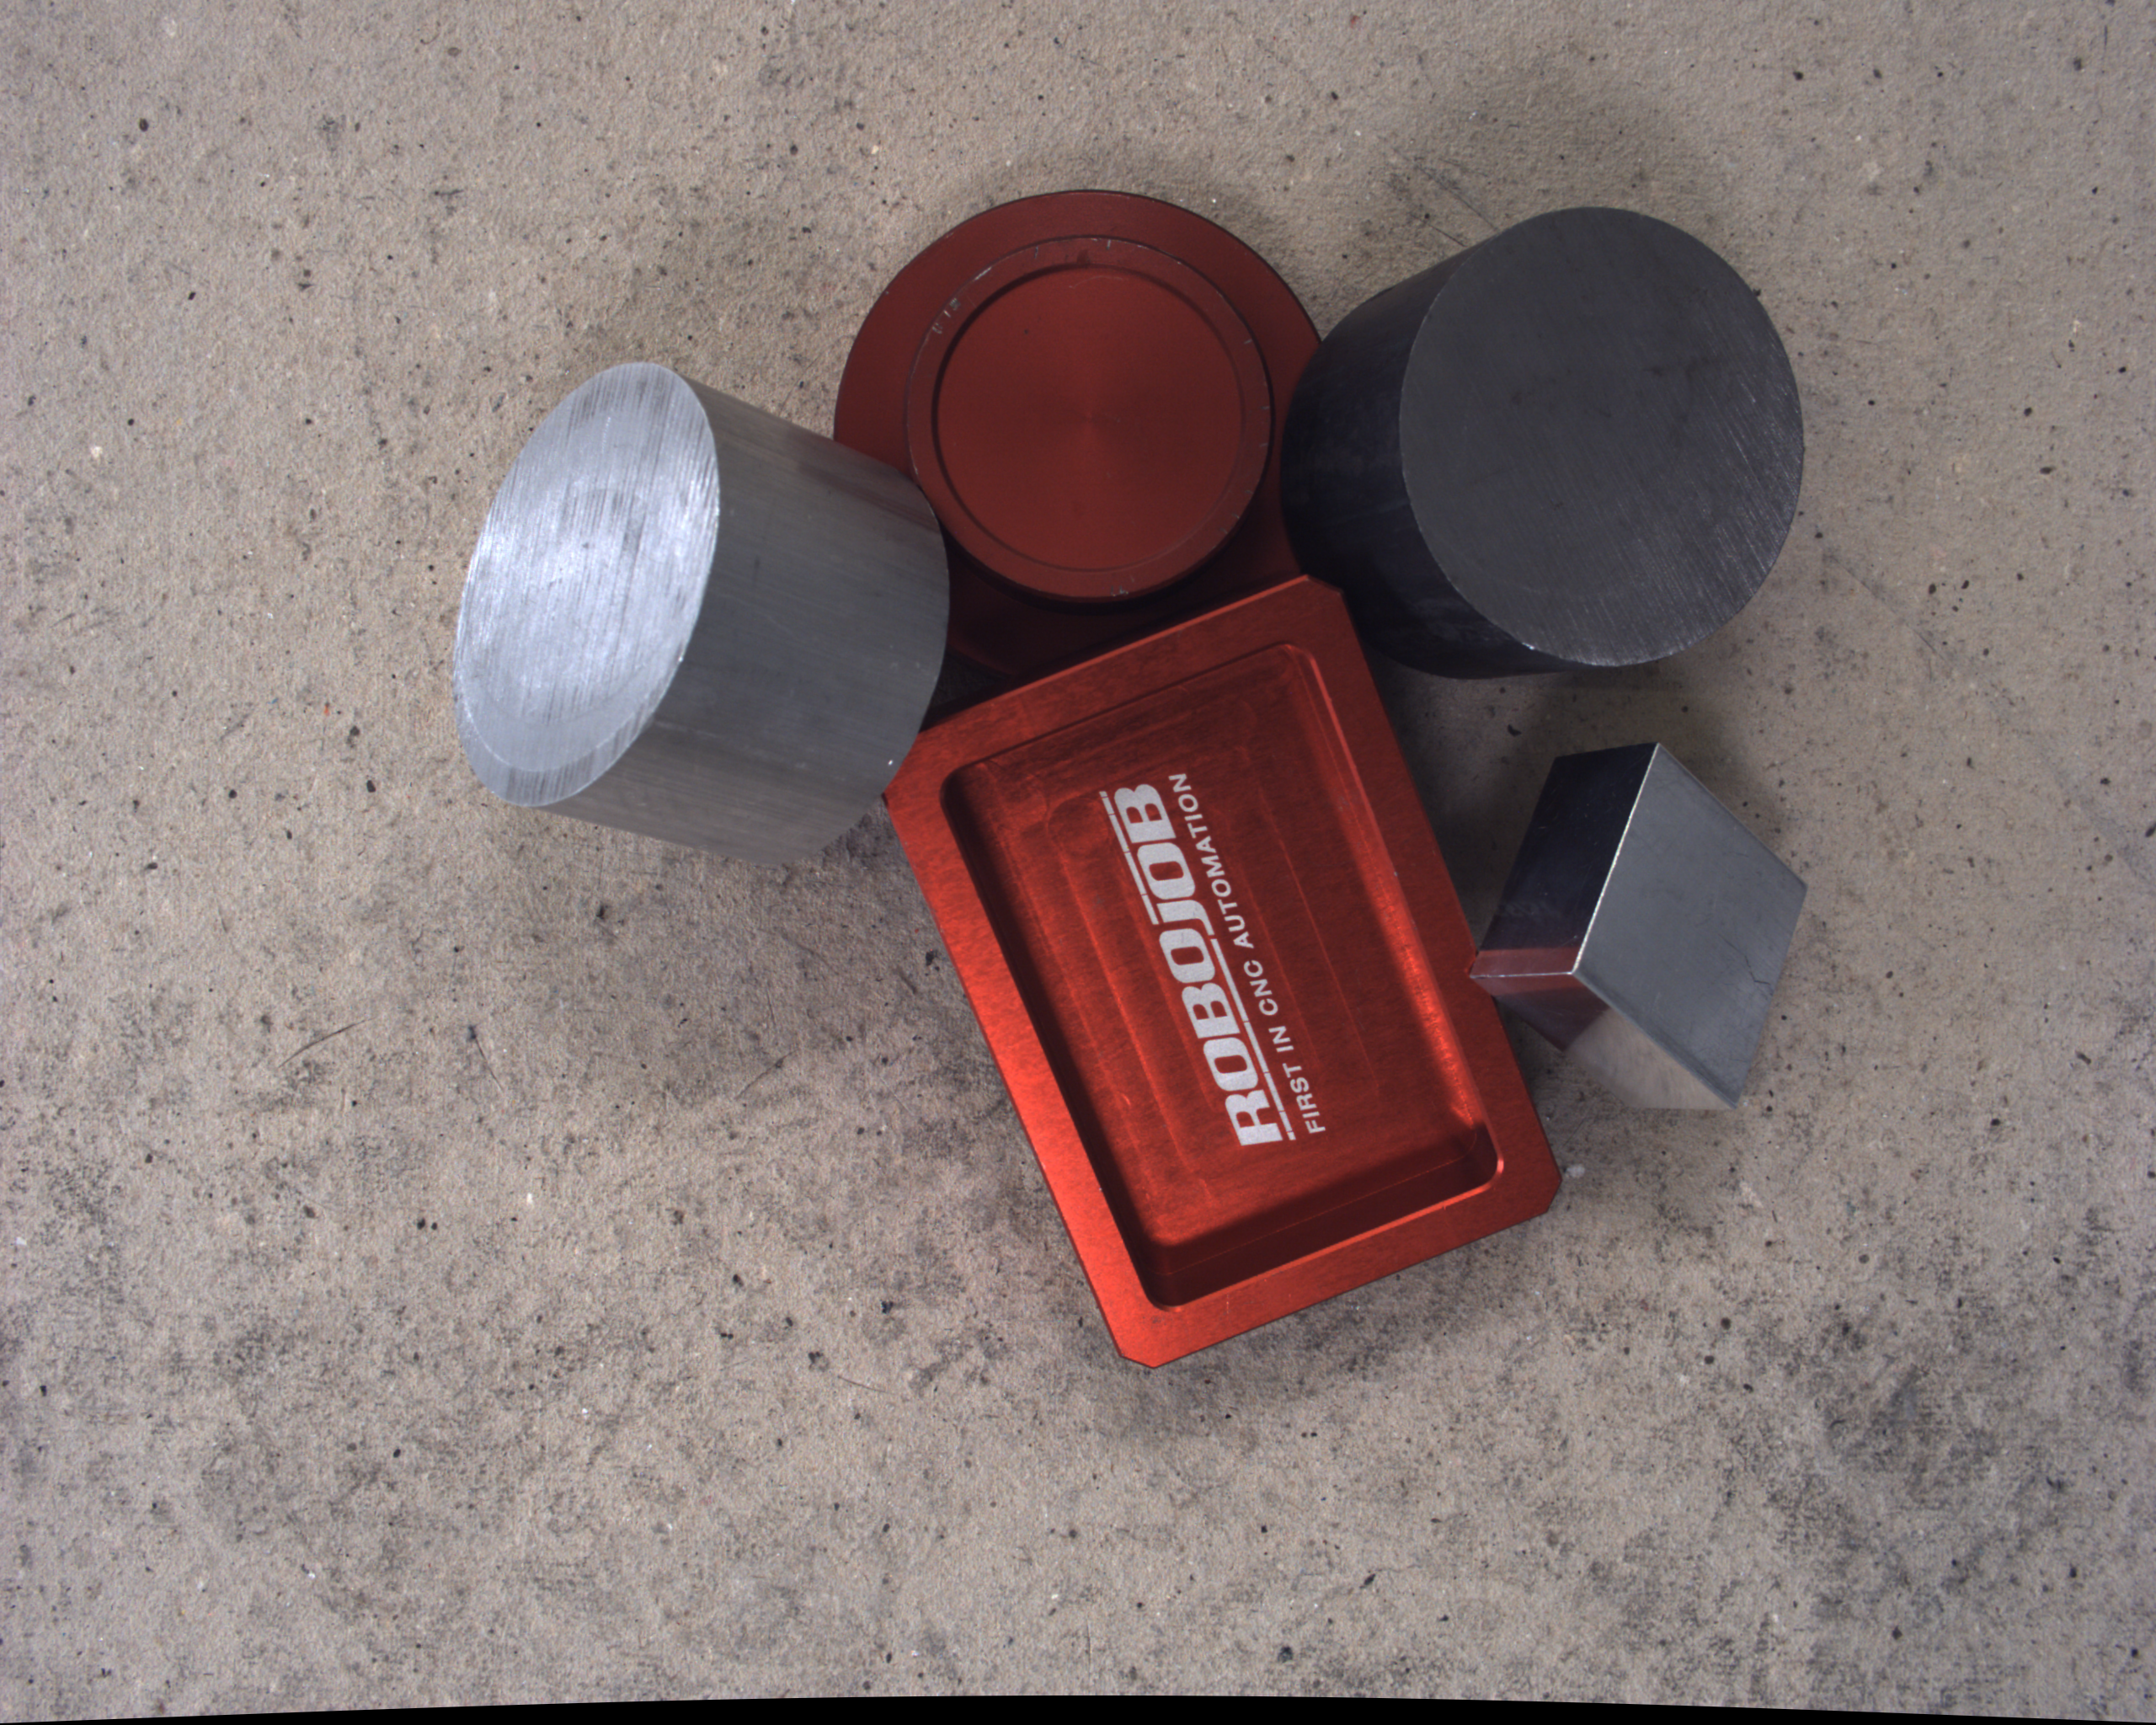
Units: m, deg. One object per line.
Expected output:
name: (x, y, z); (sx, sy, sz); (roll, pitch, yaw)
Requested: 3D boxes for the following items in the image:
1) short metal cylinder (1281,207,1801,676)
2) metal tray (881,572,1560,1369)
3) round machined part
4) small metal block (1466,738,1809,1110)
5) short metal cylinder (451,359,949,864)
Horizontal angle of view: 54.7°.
short metal cylinder: (0.085, -0.075, 0.389); (0.081, 0.050, 0.079); (-1, 92, -18)
metal tray: (0.026, 0.020, 0.398); (0.090, 0.030, 0.129); (-22, 100, 0)
round machined part: (0.002, -0.082, 0.403); (0.099, 0.042, 0.097); (0, 90, 0)
small metal block: (0.107, 0.013, 0.394); (0.050, 0.025, 0.050); (38, 65, -26)
short metal cylinder: (-0.069, -0.044, 0.376); (0.050, 0.080, 0.080); (16, 90, -44)
